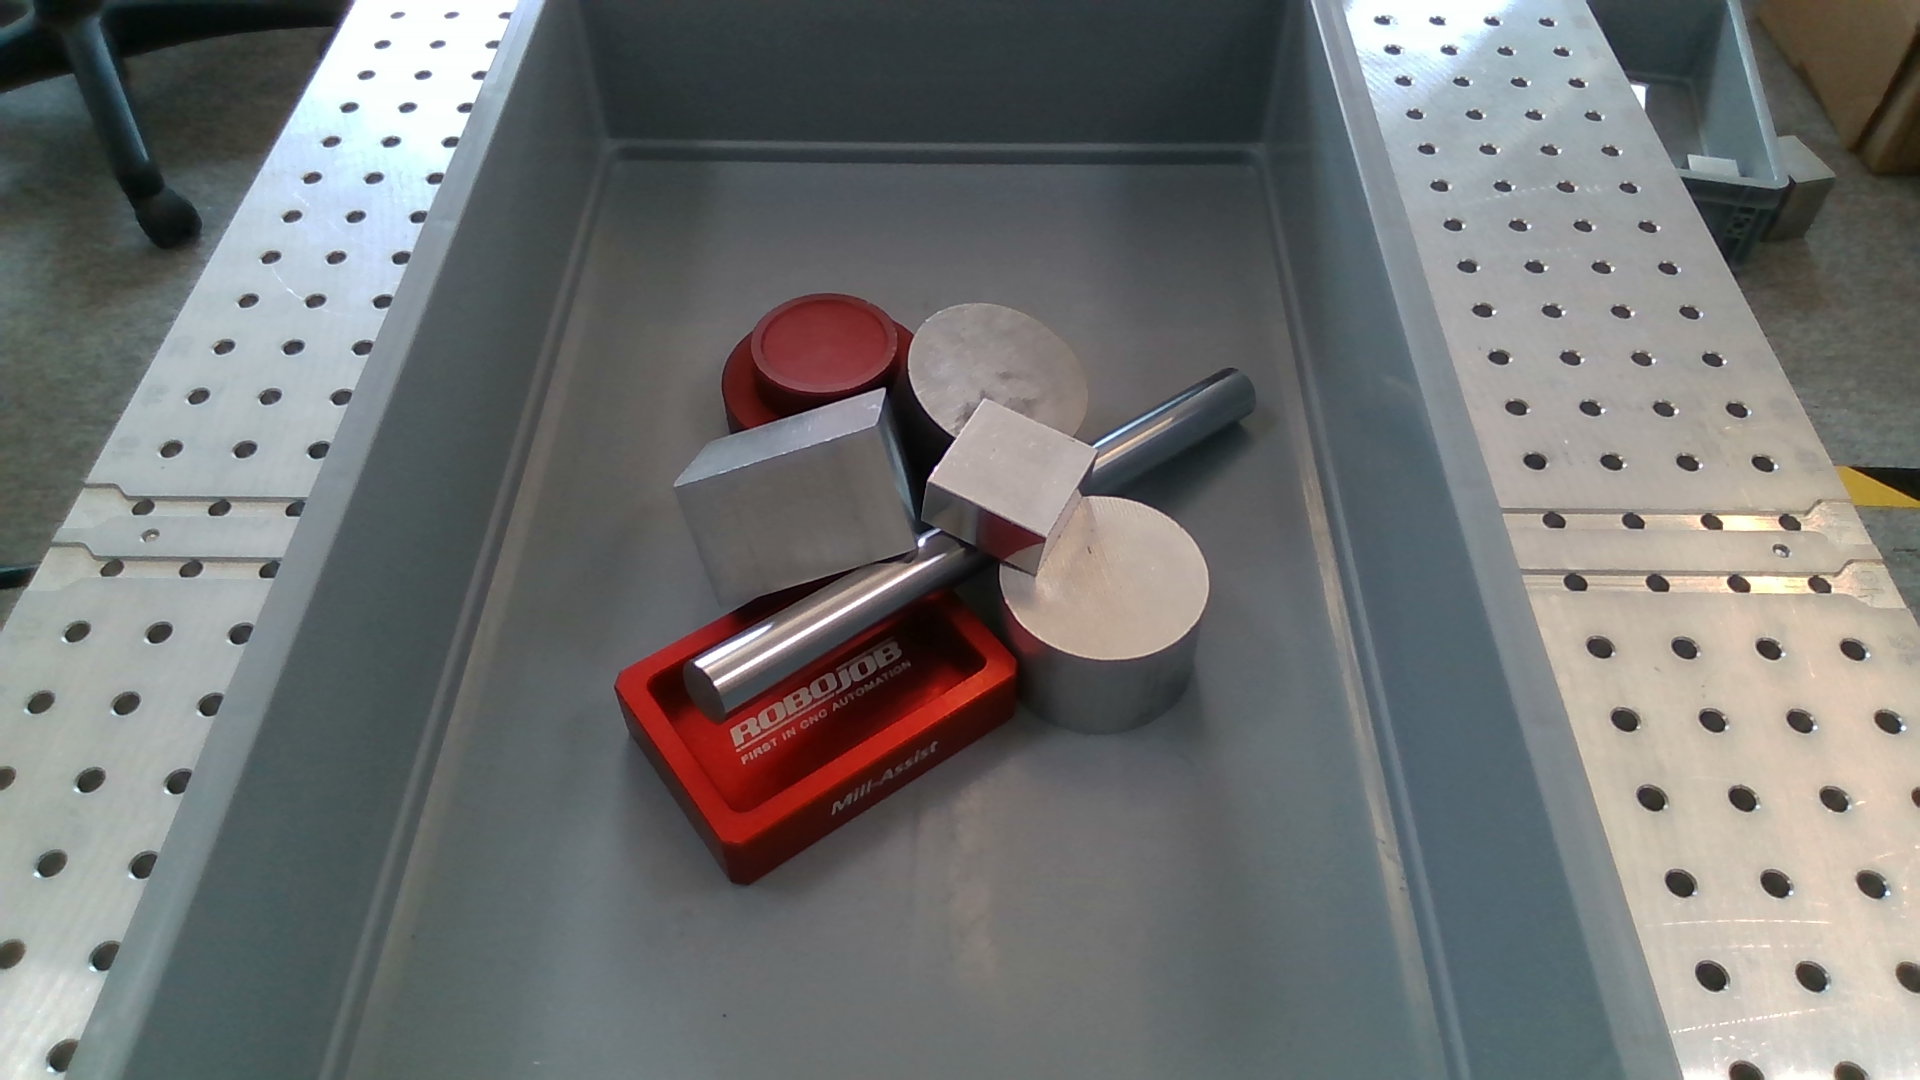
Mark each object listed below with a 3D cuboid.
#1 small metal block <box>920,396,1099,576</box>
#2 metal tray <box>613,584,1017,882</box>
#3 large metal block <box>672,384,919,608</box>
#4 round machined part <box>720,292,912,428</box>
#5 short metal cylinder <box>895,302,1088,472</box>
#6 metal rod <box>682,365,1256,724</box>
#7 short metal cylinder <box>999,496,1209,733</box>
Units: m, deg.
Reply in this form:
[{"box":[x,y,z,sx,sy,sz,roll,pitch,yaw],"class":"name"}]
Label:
[{"box":[0.019,-0.022,0.535,0.050,0.025,0.050,26,54,10],"class":"small metal block"},{"box":[-0.054,0.060,0.532,0.130,0.030,0.090,-30,56,-22],"class":"metal tray"},{"box":[-0.062,-0.020,0.552,0.080,0.050,0.080,-17,16,4],"class":"large metal block"},{"box":[-0.062,-0.077,0.638,0.098,0.042,0.098,0,50,0],"class":"round machined part"},{"box":[0.010,-0.057,0.602,0.080,0.050,0.080,9,57,-14],"class":"short metal cylinder"},{"box":[0.019,-0.008,0.560,0.300,0.025,0.025,-29,56,-34],"class":"metal rod"},{"box":[0.055,0.029,0.546,0.080,0.050,0.080,0,50,0],"class":"short metal cylinder"}]
